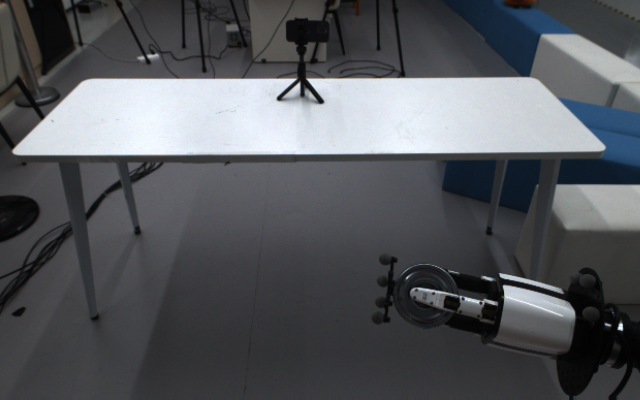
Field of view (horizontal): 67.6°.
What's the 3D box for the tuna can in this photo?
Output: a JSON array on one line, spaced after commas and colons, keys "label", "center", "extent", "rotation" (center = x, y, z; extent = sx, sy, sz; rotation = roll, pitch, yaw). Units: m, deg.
[{"label": "tuna can", "center": [0.144, 0.124, 0.647], "extent": [0.085, 0.085, 0.034], "rotation": [9, -7, 10]}]
